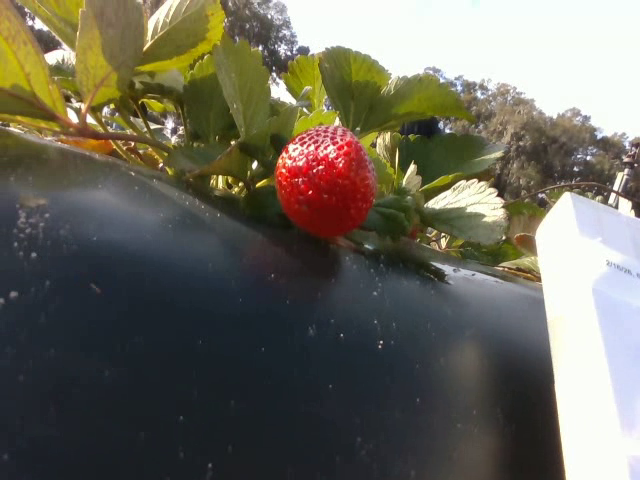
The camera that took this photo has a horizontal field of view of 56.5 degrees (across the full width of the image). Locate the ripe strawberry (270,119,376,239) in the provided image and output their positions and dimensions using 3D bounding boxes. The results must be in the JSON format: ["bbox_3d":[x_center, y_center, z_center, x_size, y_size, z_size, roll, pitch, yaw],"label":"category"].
[{"bbox_3d":[0.005,-0.021,0.181,0.041,0.041,0.047,-10,-5,-18],"label":"ripe strawberry"}]
